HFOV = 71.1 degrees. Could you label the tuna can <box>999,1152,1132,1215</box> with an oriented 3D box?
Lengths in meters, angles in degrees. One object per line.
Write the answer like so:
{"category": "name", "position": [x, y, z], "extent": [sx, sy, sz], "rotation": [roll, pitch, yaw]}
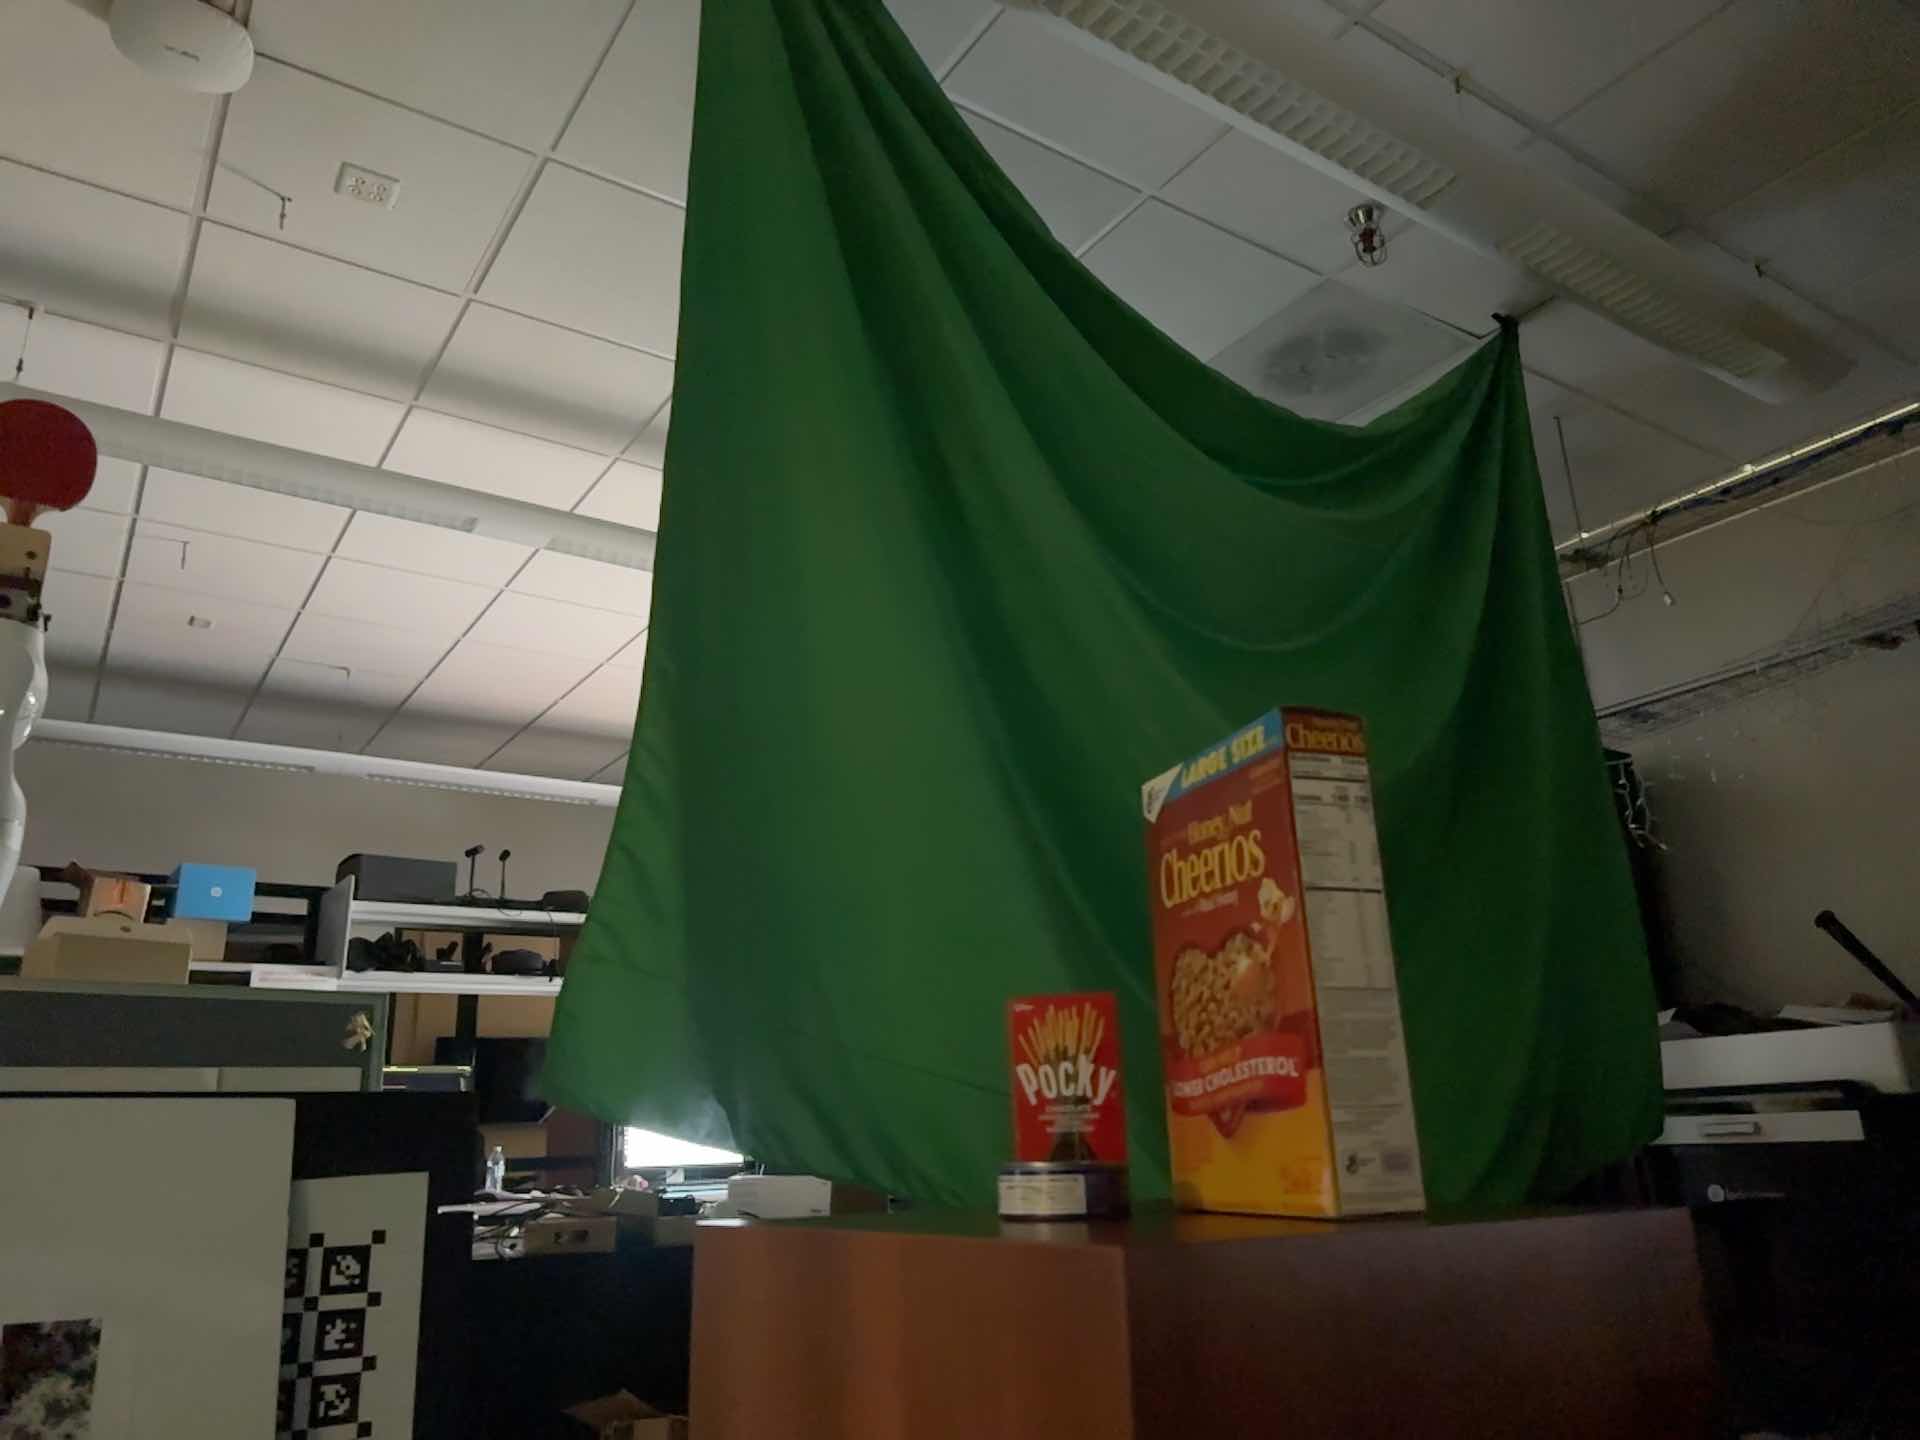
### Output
{"category": "tuna can", "position": [0.068, 0.298, 0.868], "extent": [0.083, 0.034, 0.083], "rotation": [-2, -16, -1]}

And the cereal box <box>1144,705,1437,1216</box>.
{"category": "cereal box", "position": [0.206, 0.164, 0.898], "extent": [0.065, 0.297, 0.195], "rotation": [4, -17, -20]}

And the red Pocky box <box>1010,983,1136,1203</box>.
{"category": "red Pocky box", "position": [0.081, 0.273, 0.985], "extent": [0.083, 0.155, 0.028], "rotation": [-5, -15, 9]}
